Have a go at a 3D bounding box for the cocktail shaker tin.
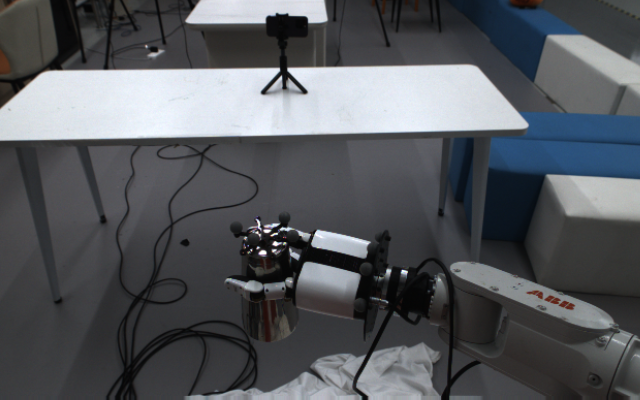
[{"bbox_3d":[-0.075,0.121,0.731,0.093,0.170,0.093,1,39,0],"label":"cocktail shaker tin"}]
